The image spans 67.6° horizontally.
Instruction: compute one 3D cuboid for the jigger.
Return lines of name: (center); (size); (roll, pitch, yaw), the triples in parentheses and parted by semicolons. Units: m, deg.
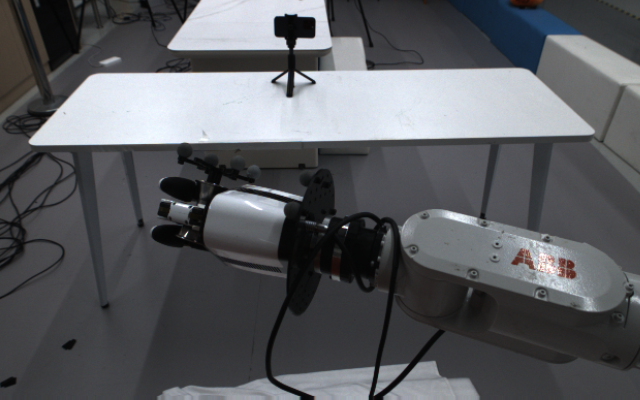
jigger: (-0.131, 0.014, 0.551); (0.043, 0.071, 0.043); (15, -7, 2)
